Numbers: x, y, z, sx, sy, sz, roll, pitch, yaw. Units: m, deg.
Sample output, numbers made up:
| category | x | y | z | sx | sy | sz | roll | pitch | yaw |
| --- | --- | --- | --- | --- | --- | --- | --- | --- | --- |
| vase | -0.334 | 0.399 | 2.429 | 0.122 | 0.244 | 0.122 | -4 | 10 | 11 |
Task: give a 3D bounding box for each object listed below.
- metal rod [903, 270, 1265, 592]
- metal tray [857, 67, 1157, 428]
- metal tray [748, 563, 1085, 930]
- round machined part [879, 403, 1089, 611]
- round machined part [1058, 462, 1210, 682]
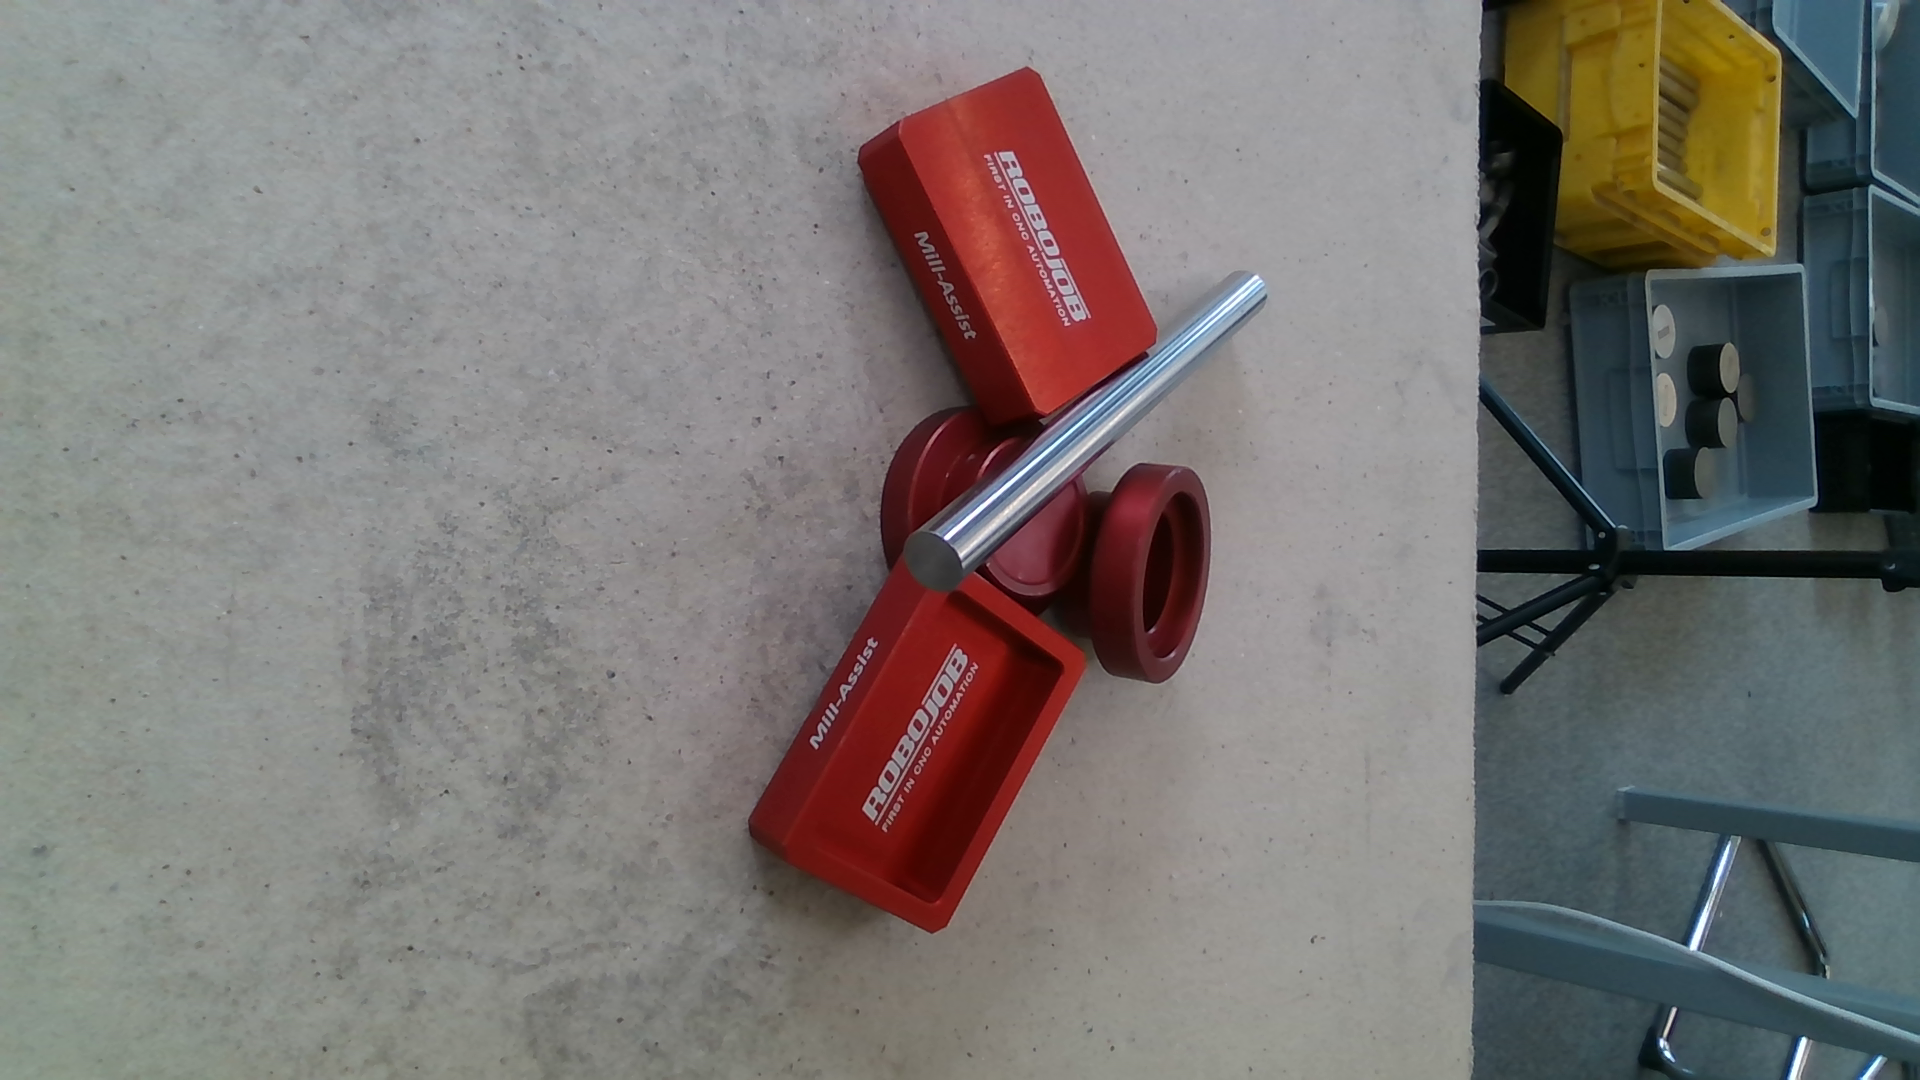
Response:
| category | x | y | z | sx | sy | sz | roll | pitch | yaw |
| --- | --- | --- | --- | --- | --- | --- | --- | --- | --- |
| metal rod | 0.067 | -0.059 | 0.597 | 0.299 | 0.025 | 0.025 | -41 | 116 | -47 |
| metal tray | 0.023 | -0.124 | 0.585 | 0.090 | 0.030 | 0.130 | -36 | 104 | -37 |
| metal tray | -0.015 | 0.080 | 0.554 | 0.090 | 0.030 | 0.130 | 37 | 78 | -34 |
| round machined part | 0.017 | -0.011 | 0.587 | 0.098 | 0.042 | 0.098 | 0 | 90 | -40 |
| round machined part | 0.077 | 0.013 | 0.624 | 0.098 | 0.042 | 0.098 | -23 | 116 | -59 |
